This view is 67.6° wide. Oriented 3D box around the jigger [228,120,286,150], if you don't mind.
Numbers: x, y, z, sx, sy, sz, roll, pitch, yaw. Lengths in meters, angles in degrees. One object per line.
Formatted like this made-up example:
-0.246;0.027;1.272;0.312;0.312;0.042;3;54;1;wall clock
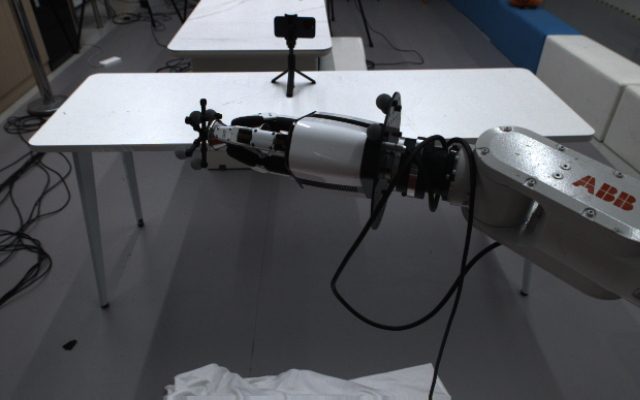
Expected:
-0.094;-0.081;0.603;0.071;0.043;0.043;8;35;16;jigger
